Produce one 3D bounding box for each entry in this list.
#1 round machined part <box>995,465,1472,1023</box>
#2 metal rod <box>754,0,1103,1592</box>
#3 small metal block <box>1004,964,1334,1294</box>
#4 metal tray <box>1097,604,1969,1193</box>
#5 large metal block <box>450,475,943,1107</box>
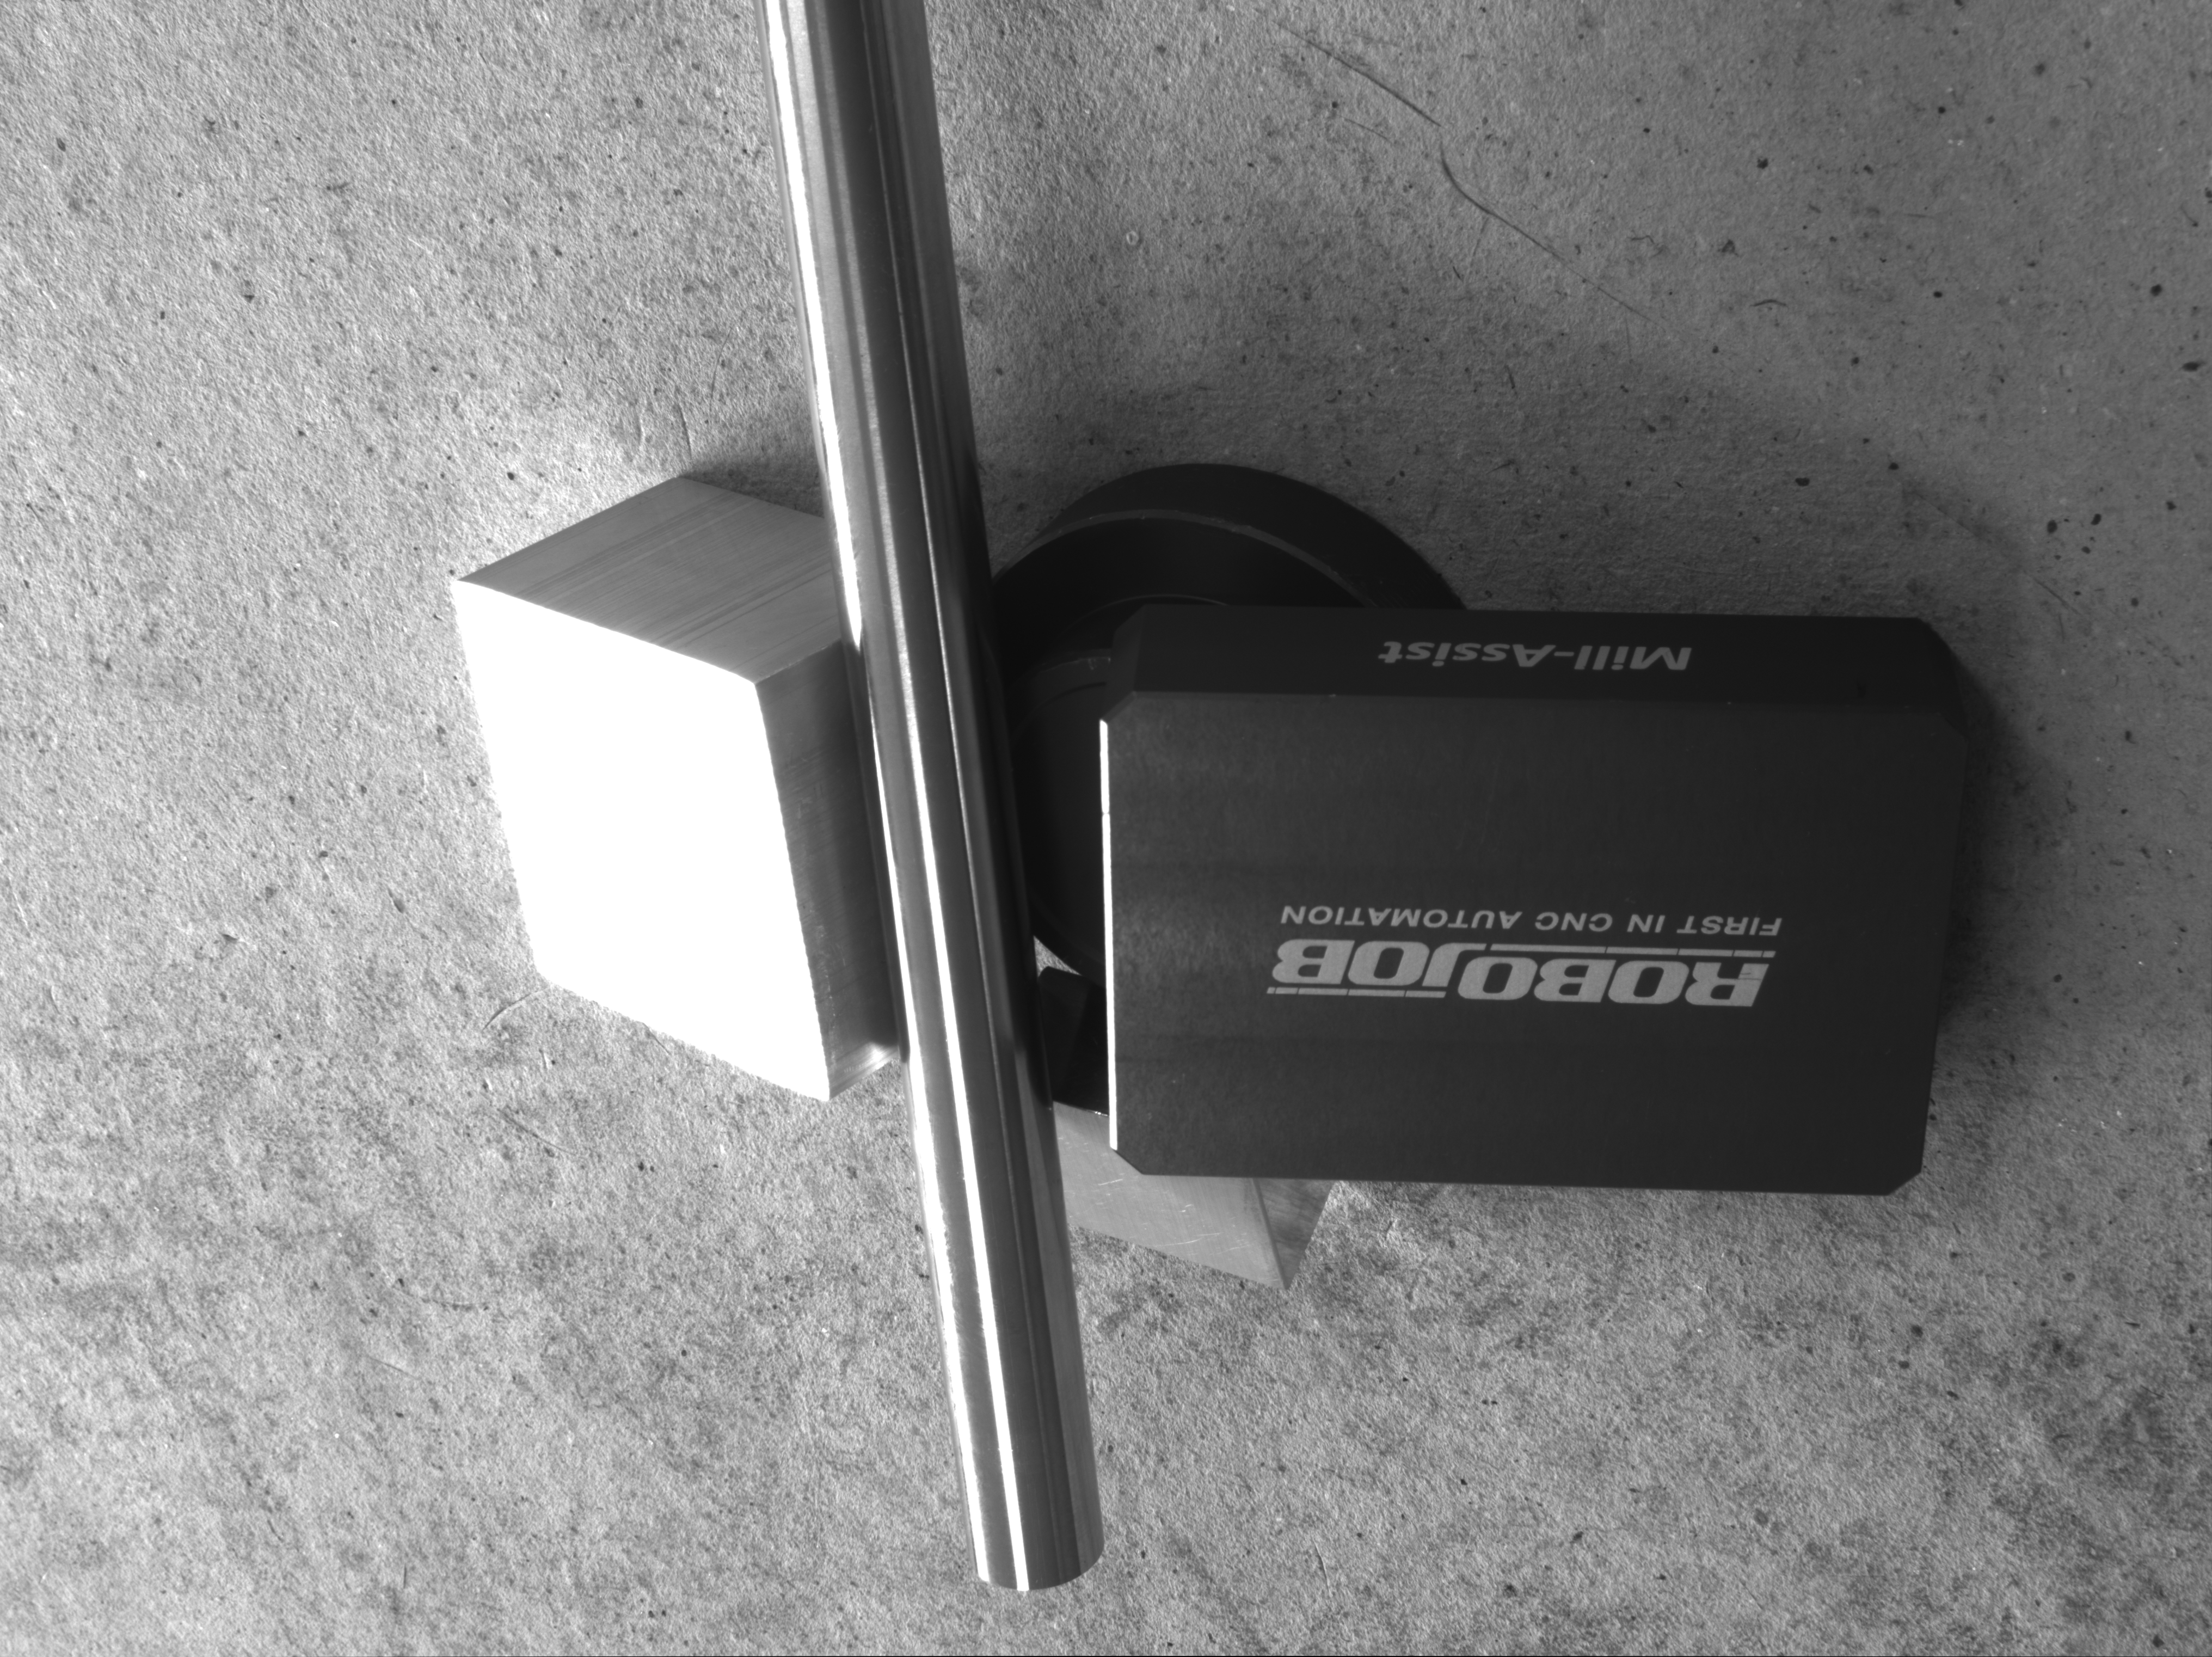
[{"bbox_3d":[0.017,-0.008,0.618,0.098,0.042,0.098,13,124,21],"label":"round machined part"},{"bbox_3d":[-0.027,-0.002,0.602,0.025,0.025,0.300,7,119,25],"label":"metal rod"},{"bbox_3d":[0.011,0.054,0.658,0.050,0.025,0.050,15,150,21],"label":"small metal block"},{"bbox_3d":[0.065,0.012,0.583,0.130,0.030,0.090,1,122,4],"label":"metal tray"},{"bbox_3d":[-0.062,-0.008,0.641,0.080,0.050,0.080,19,128,40],"label":"large metal block"}]
